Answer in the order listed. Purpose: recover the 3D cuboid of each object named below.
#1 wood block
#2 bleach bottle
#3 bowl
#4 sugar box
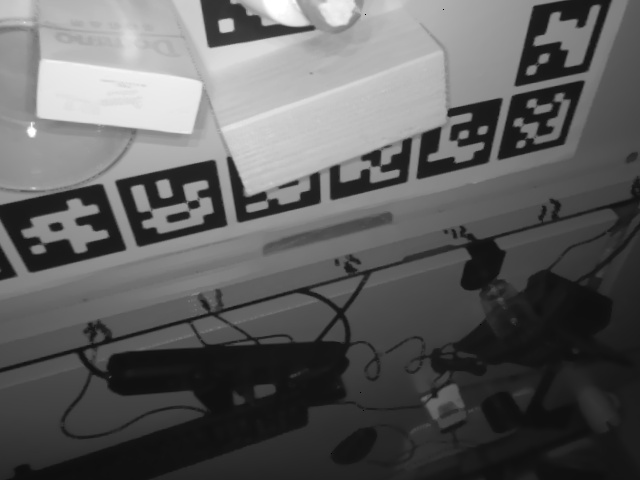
[{"bbox_3d":[0.022,-0.135,0.640,0.207,0.090,0.090,-20,136,-5],"label":"wood block"},{"bbox_3d":[-0.010,-0.204,0.417,0.102,0.251,0.068,-31,141,8],"label":"bleach bottle"},{"bbox_3d":[-0.230,-0.113,0.558,0.163,0.055,0.160,-18,141,-14],"label":"bowl"},{"bbox_3d":[-0.136,-0.142,0.475,0.094,0.176,0.044,-1,134,-30],"label":"sugar box"}]
